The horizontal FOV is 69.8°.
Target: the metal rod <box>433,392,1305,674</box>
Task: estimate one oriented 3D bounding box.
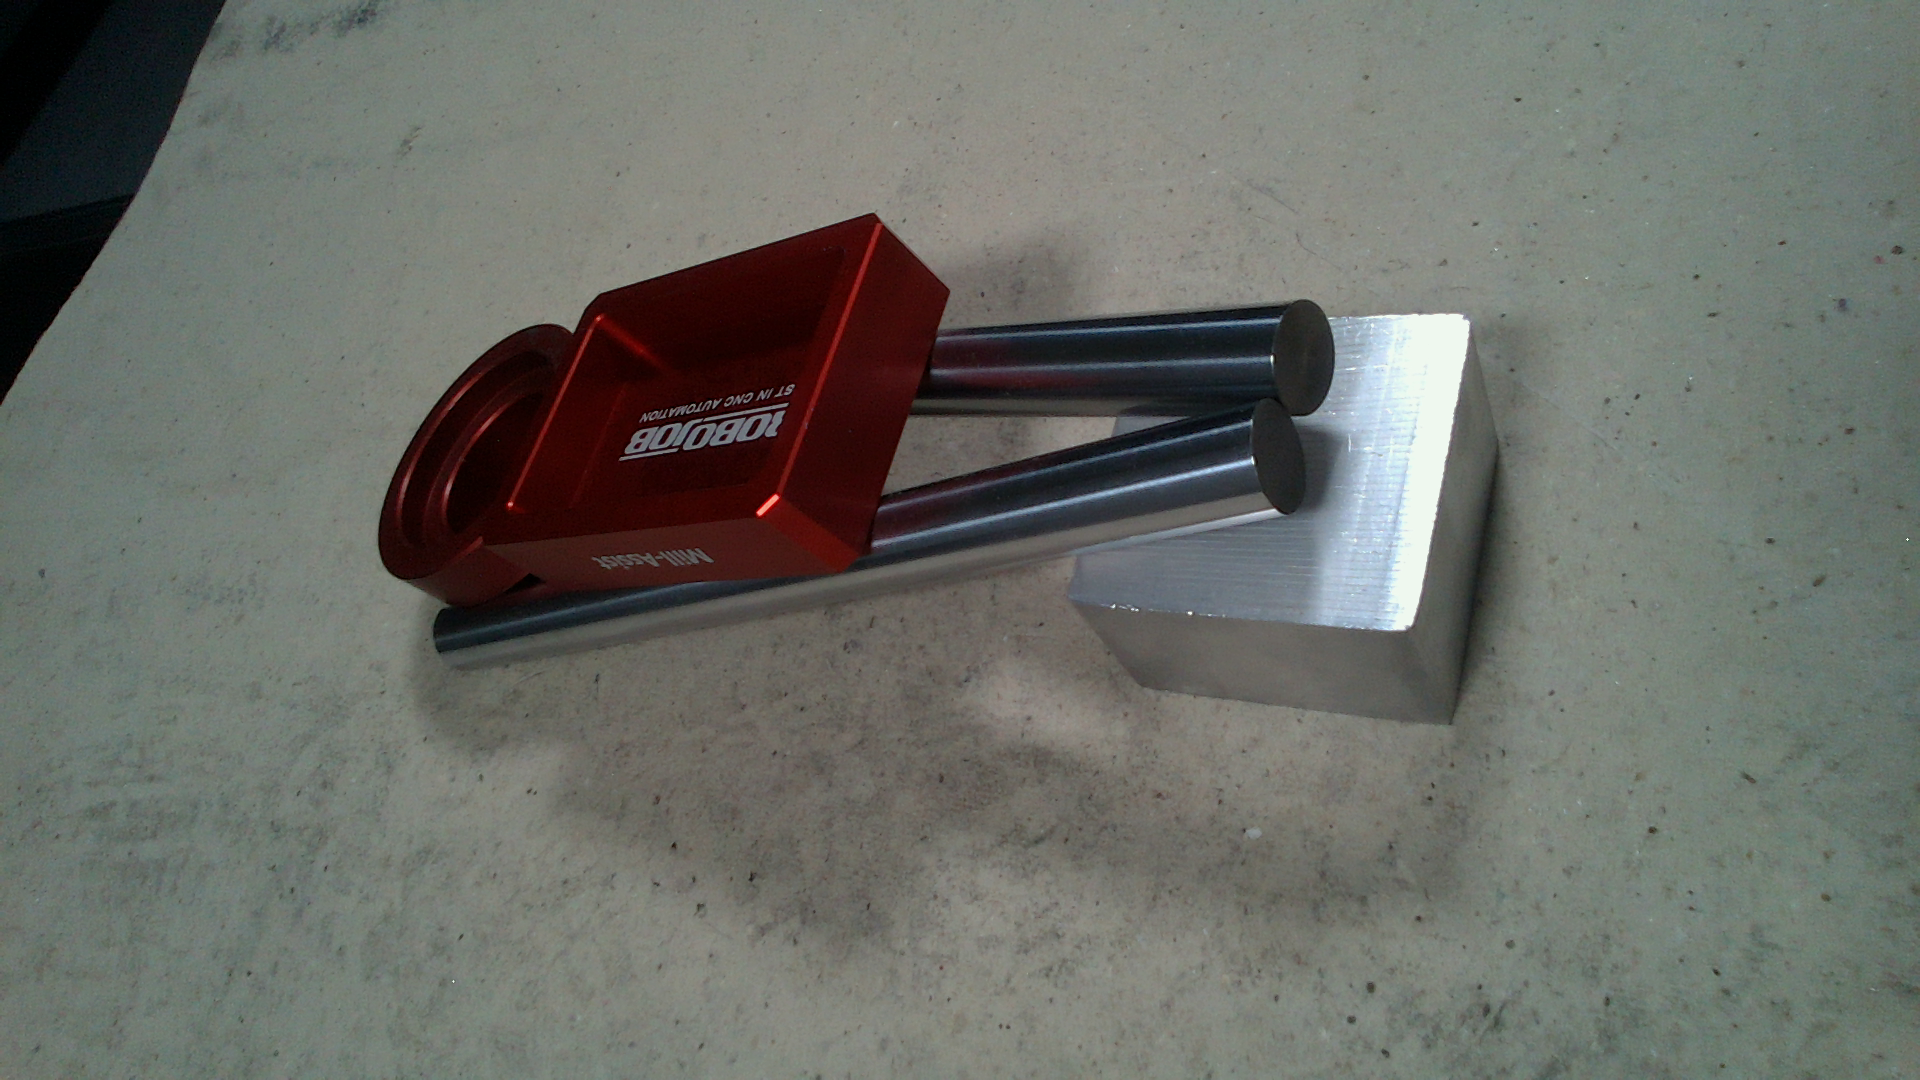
[{"bbox_3d":[-0.050,0.007,0.375,0.299,0.025,0.025,-12,55,37],"label":"metal rod"}]

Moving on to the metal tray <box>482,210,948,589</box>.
[{"bbox_3d":[-0.071,-0.035,0.384,0.129,0.030,0.090,-5,58,41],"label":"metal tray"}]

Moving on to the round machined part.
[{"bbox_3d":[-0.147,-0.021,0.469,0.098,0.042,0.098,-22,49,28],"label":"round machined part"}]

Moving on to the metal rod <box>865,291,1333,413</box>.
[{"bbox_3d":[-0.032,-0.049,0.399,0.299,0.025,0.025,4,63,45],"label":"metal rod"}]

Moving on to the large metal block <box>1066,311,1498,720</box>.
[{"bbox_3d":[0.081,-0.007,0.336,0.080,0.050,0.080,4,63,30],"label":"large metal block"}]
